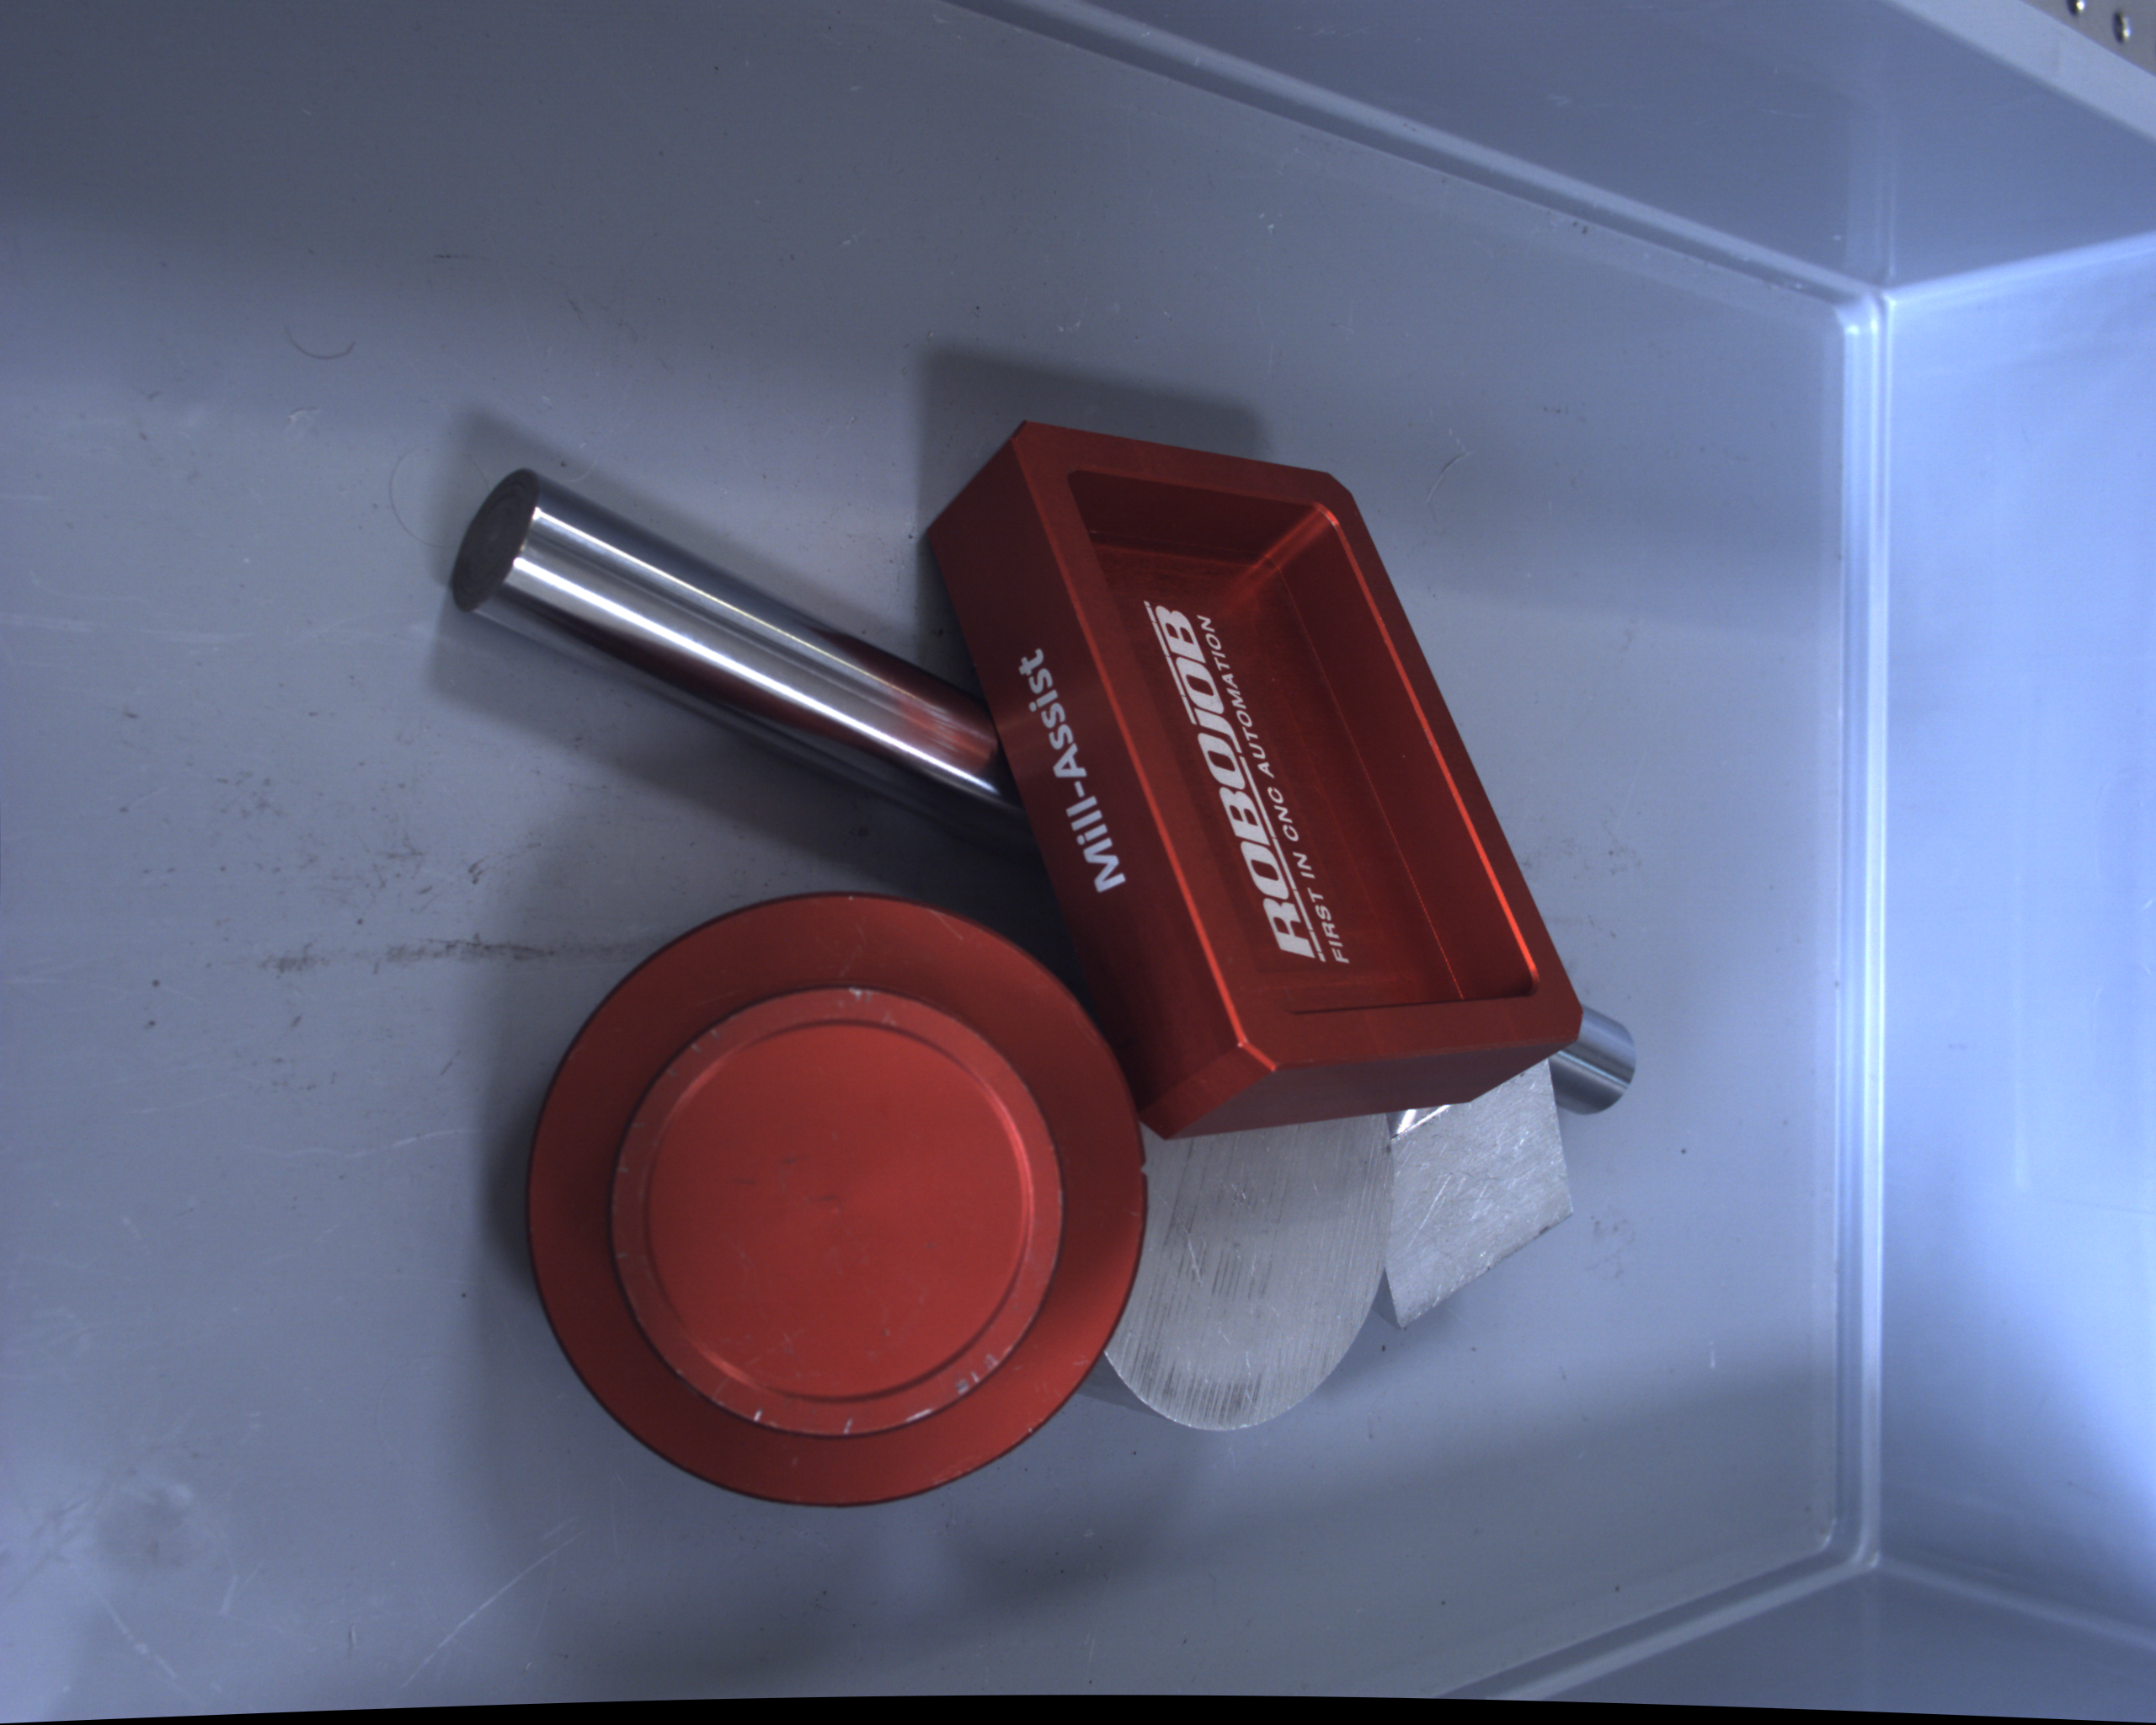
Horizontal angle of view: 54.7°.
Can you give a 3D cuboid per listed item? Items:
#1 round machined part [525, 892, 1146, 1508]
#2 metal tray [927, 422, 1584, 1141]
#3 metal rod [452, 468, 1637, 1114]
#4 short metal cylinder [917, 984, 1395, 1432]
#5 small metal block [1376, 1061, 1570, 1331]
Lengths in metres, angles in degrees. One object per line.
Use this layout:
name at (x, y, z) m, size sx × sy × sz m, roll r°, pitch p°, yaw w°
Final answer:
round machined part at (-0.038, 0.053, 0.332) m, size 0.099 × 0.042 × 0.097 m, roll 1°, pitch 86°, yaw -7°
metal tray at (0.033, -0.017, 0.391) m, size 0.091 × 0.030 × 0.130 m, roll 0°, pitch 61°, yaw -41°
metal rod at (0.017, -0.001, 0.419) m, size 0.302 × 0.025 × 0.025 m, roll 25°, pitch 75°, yaw -37°
short metal cylinder at (0.015, 0.064, 0.401) m, size 0.081 × 0.050 × 0.079 m, roll 0°, pitch 90°, yaw -40°
small metal block at (0.077, 0.065, 0.456) m, size 0.050 × 0.025 × 0.050 m, roll -29°, pitch 125°, yaw -20°
